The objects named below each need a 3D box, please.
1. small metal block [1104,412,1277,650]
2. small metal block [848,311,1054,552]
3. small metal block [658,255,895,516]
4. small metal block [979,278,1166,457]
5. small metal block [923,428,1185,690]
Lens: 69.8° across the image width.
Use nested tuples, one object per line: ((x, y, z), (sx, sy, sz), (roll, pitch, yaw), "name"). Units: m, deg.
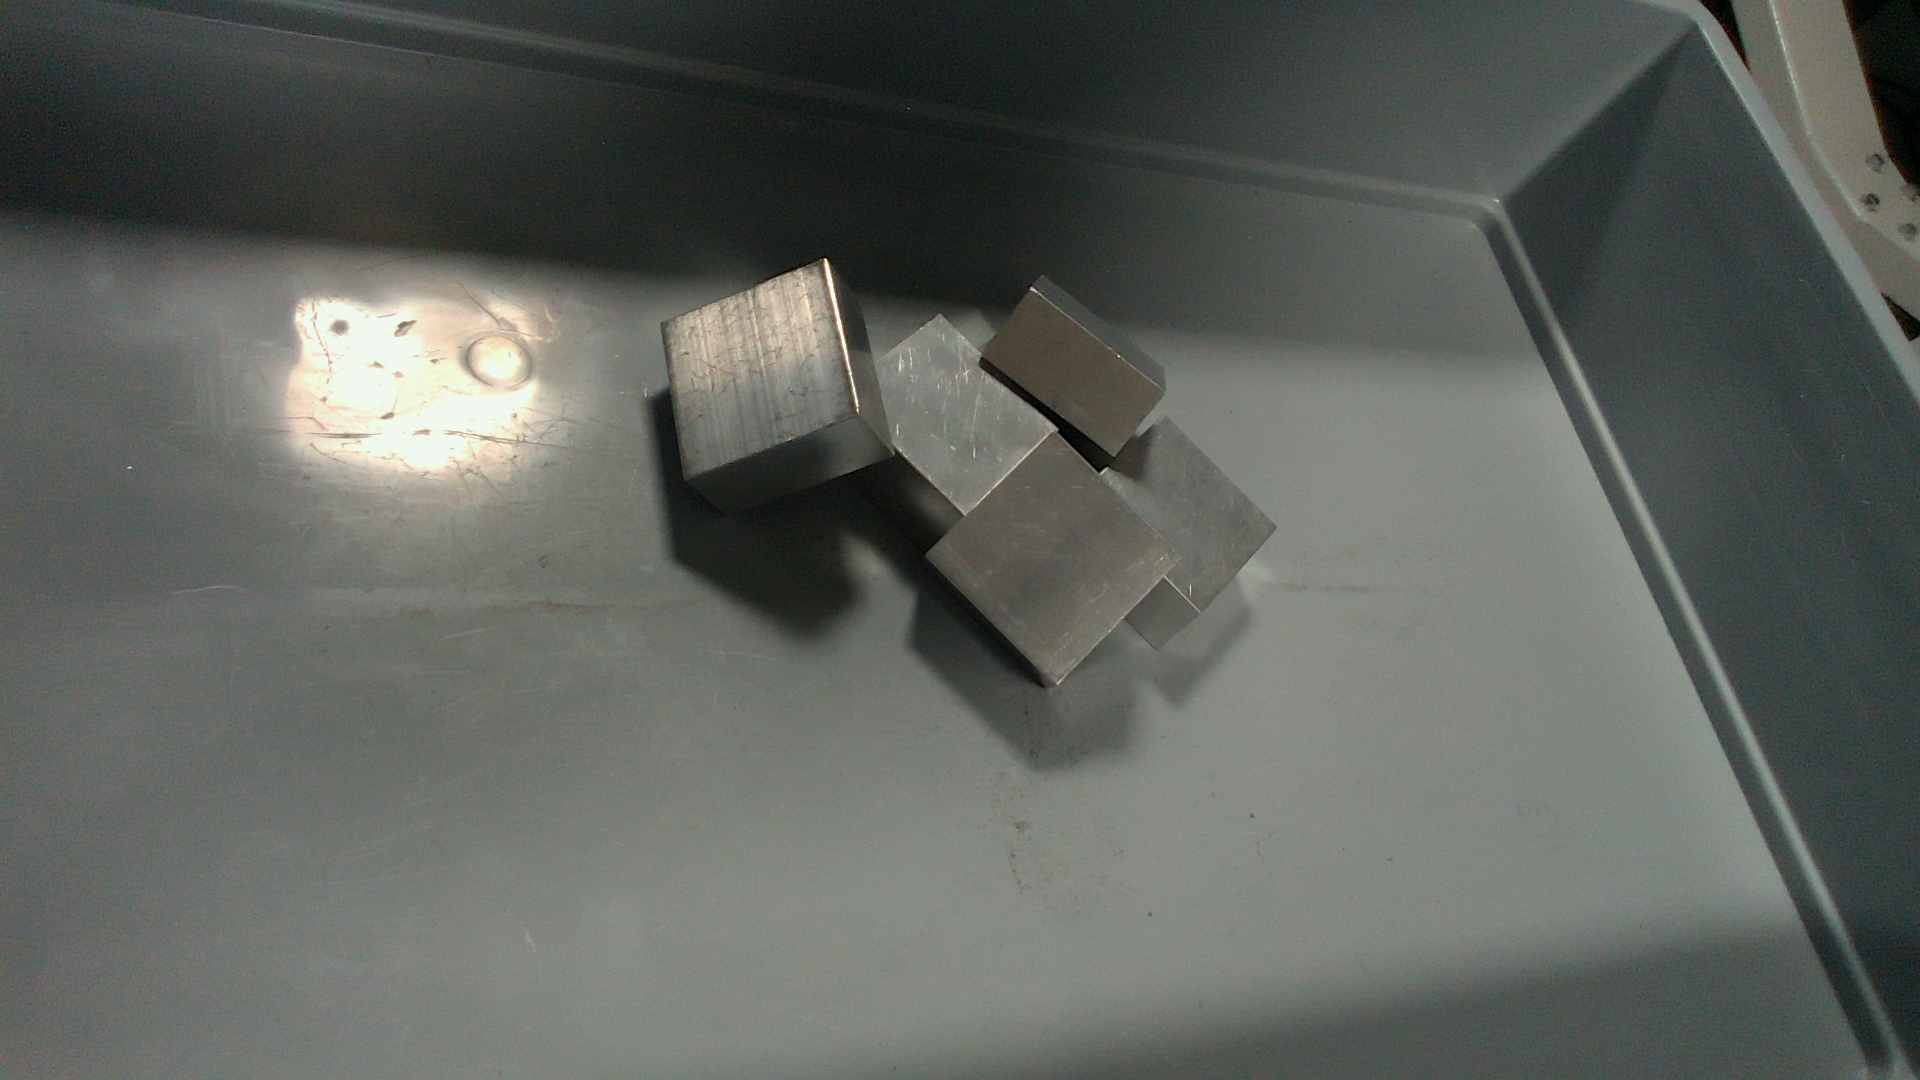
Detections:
((0.061, -0.004, 0.423), (0.050, 0.025, 0.050), (46, 51, 4), "small metal block")
((-0.008, -0.031, 0.403), (0.050, 0.025, 0.050), (44, 51, 2), "small metal block")
((-0.050, -0.041, 0.369), (0.050, 0.025, 0.050), (-19, 64, 11), "small metal block")
((0.036, -0.056, 0.427), (0.050, 0.025, 0.050), (37, 16, -3), "small metal block")
((0.025, 0.006, 0.383), (0.050, 0.025, 0.050), (45, 82, 3), "small metal block")
